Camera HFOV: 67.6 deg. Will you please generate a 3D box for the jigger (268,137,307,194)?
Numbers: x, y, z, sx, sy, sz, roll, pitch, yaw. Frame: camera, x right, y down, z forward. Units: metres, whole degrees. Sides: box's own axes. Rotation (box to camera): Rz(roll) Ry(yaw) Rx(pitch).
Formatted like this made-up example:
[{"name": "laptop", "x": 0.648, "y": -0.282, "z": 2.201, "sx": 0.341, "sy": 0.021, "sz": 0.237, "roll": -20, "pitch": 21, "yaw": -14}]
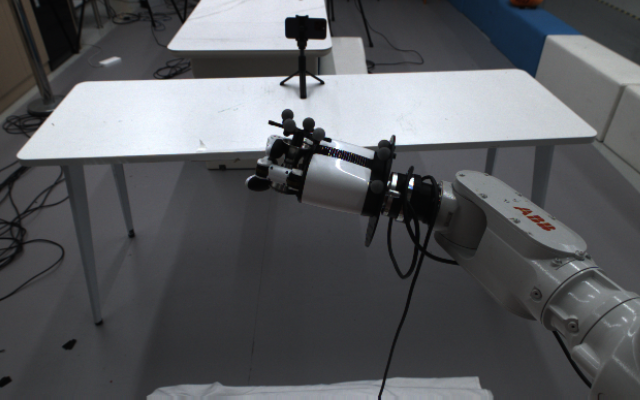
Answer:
[{"name": "jigger", "x": -0.041, "y": -0.046, "z": 0.672, "sx": 0.043, "sy": 0.071, "sz": 0.043, "roll": 18, "pitch": 17, "yaw": -6}]
